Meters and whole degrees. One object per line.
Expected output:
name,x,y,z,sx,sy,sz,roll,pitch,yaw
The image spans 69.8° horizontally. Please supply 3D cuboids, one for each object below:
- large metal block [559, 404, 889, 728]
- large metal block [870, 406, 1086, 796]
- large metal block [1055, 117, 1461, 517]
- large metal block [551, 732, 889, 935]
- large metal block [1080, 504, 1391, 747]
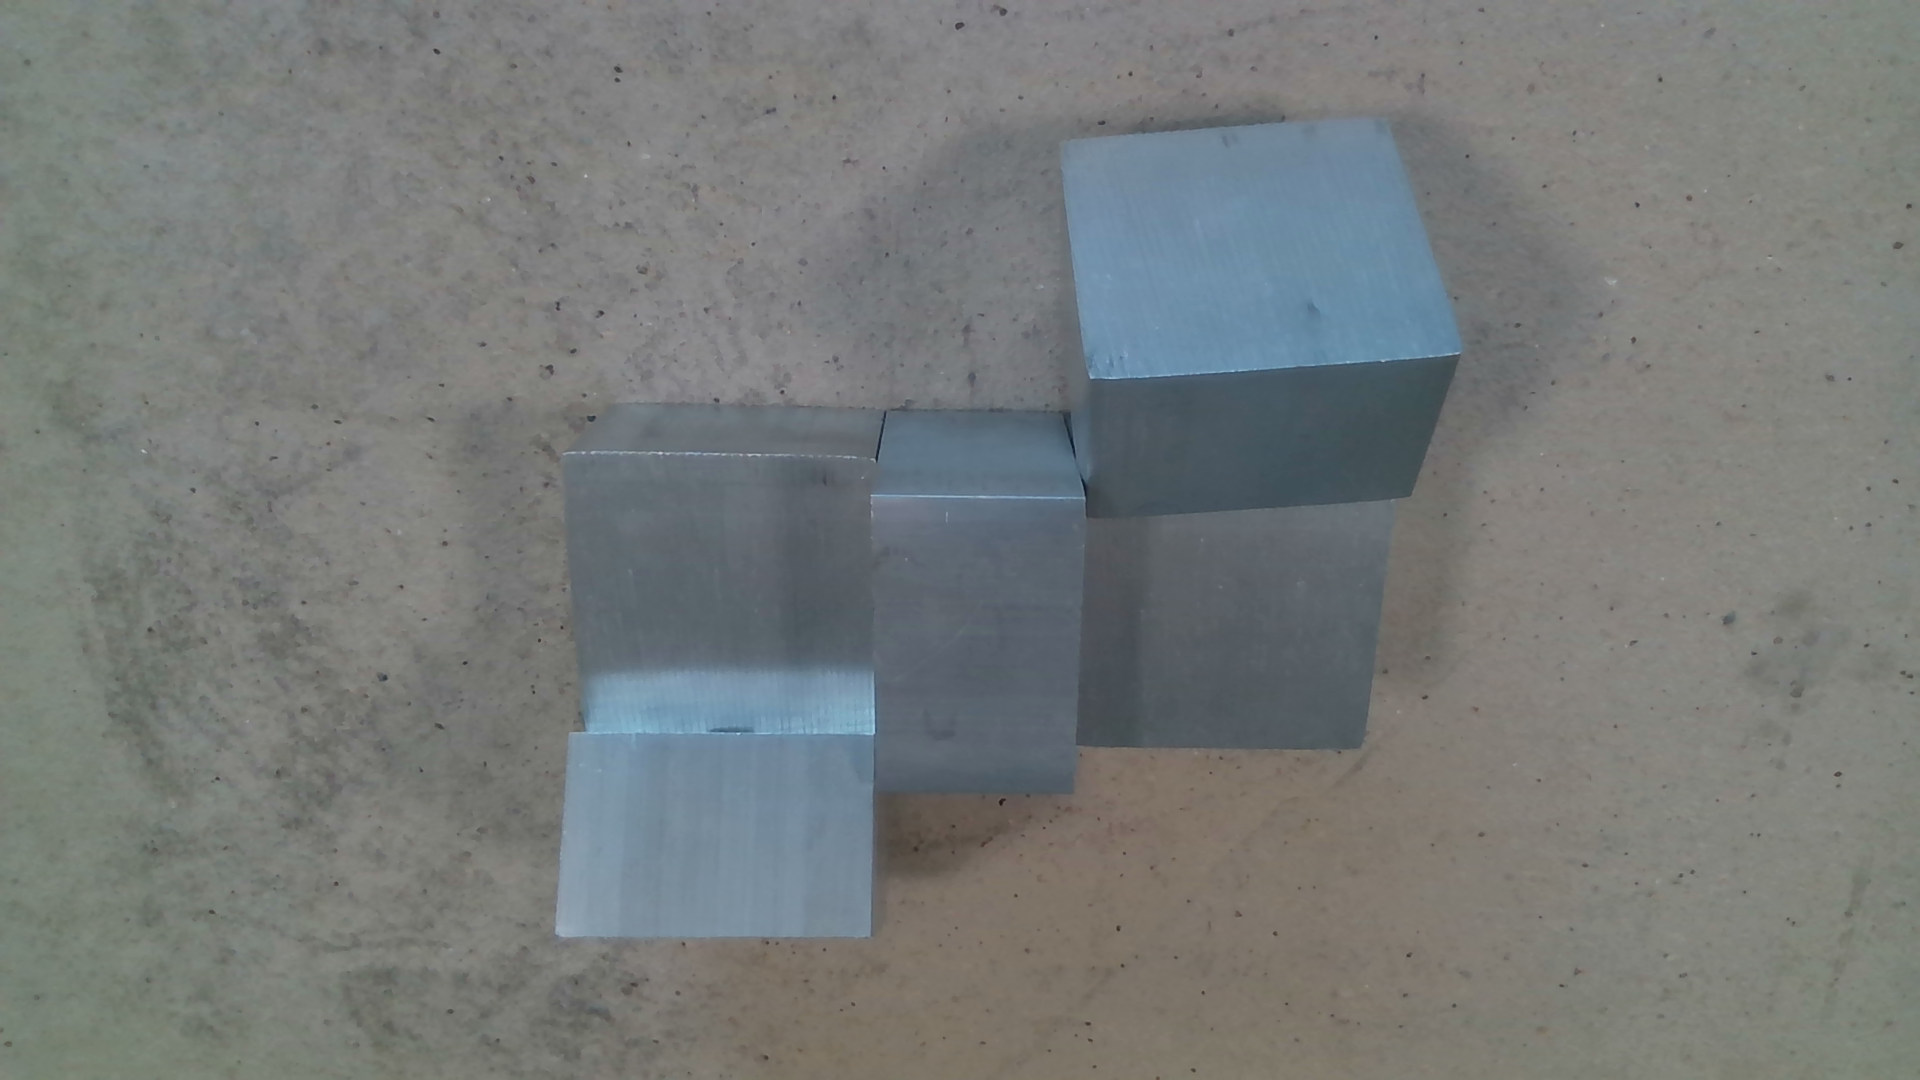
large metal block,-0.061,0.007,0.383,0.080,0.050,0.080,1,110,0
large metal block,0.004,0.013,0.369,0.050,0.080,0.080,0,110,0
large metal block,0.066,-0.055,0.337,0.080,0.080,0.050,-3,144,1
large metal block,-0.062,0.082,0.387,0.080,0.080,0.050,0,78,0
large metal block,0.069,0.010,0.382,0.080,0.050,0.080,0,110,-1
